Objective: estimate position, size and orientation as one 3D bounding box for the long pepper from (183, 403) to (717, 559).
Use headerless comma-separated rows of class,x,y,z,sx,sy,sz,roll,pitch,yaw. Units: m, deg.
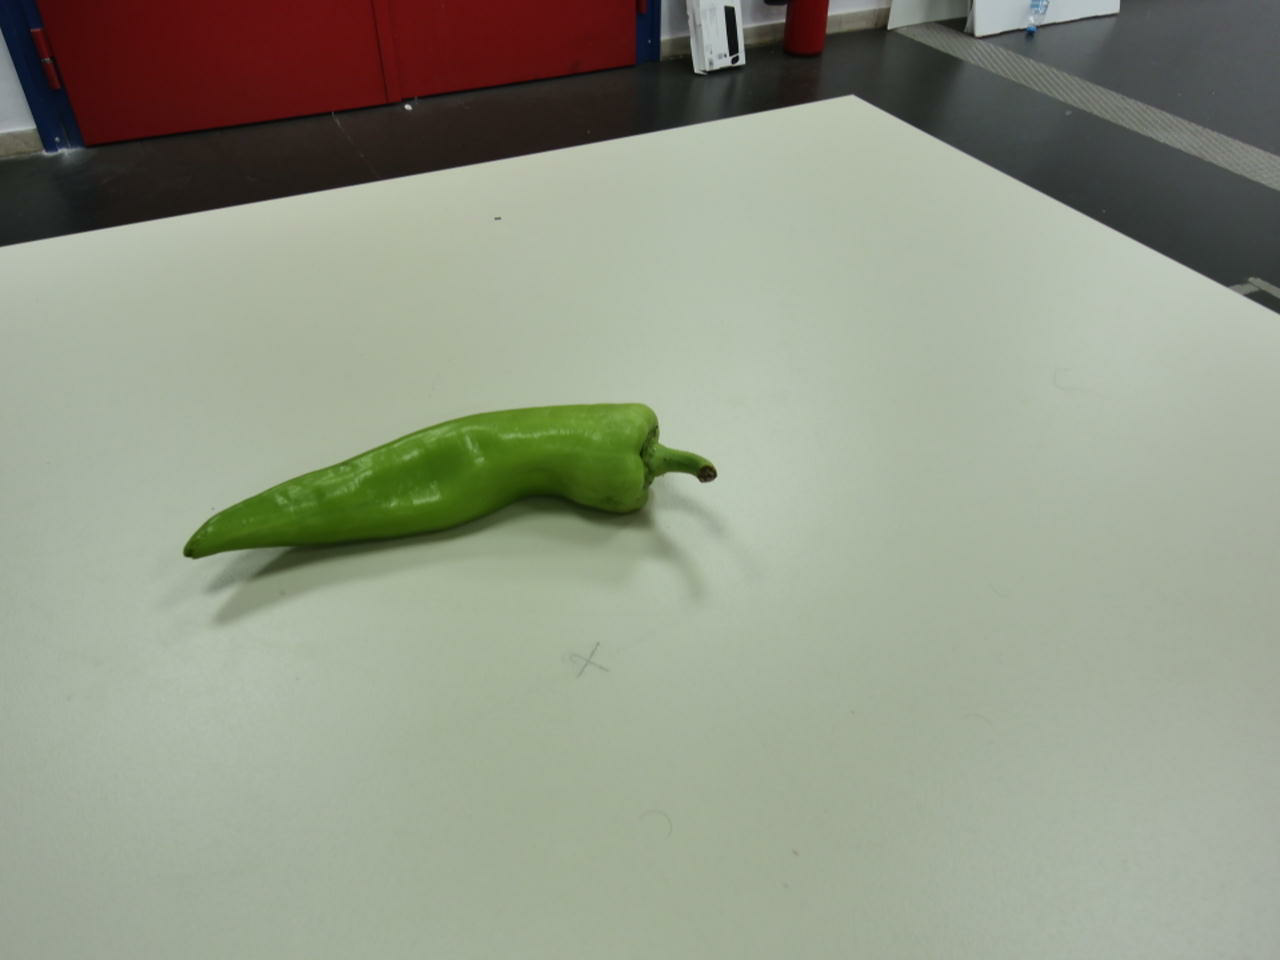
long pepper,-0.073,-0.002,0.411,0.204,0.045,0.065,-7,38,-9
